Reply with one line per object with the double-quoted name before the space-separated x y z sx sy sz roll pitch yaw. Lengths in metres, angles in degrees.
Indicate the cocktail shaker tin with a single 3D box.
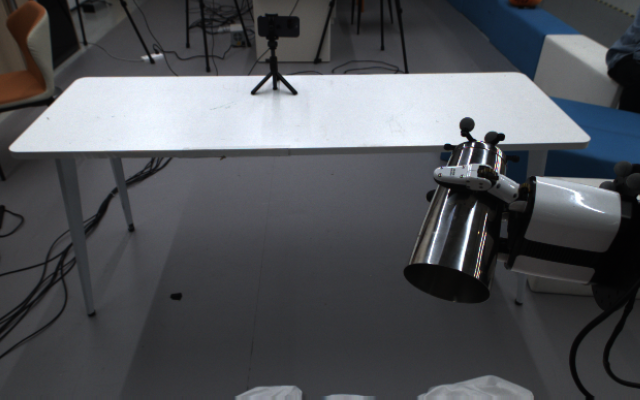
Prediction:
"cocktail shaker tin" 0.165 0.018 0.544 0.093 0.093 0.170 14 61 17
